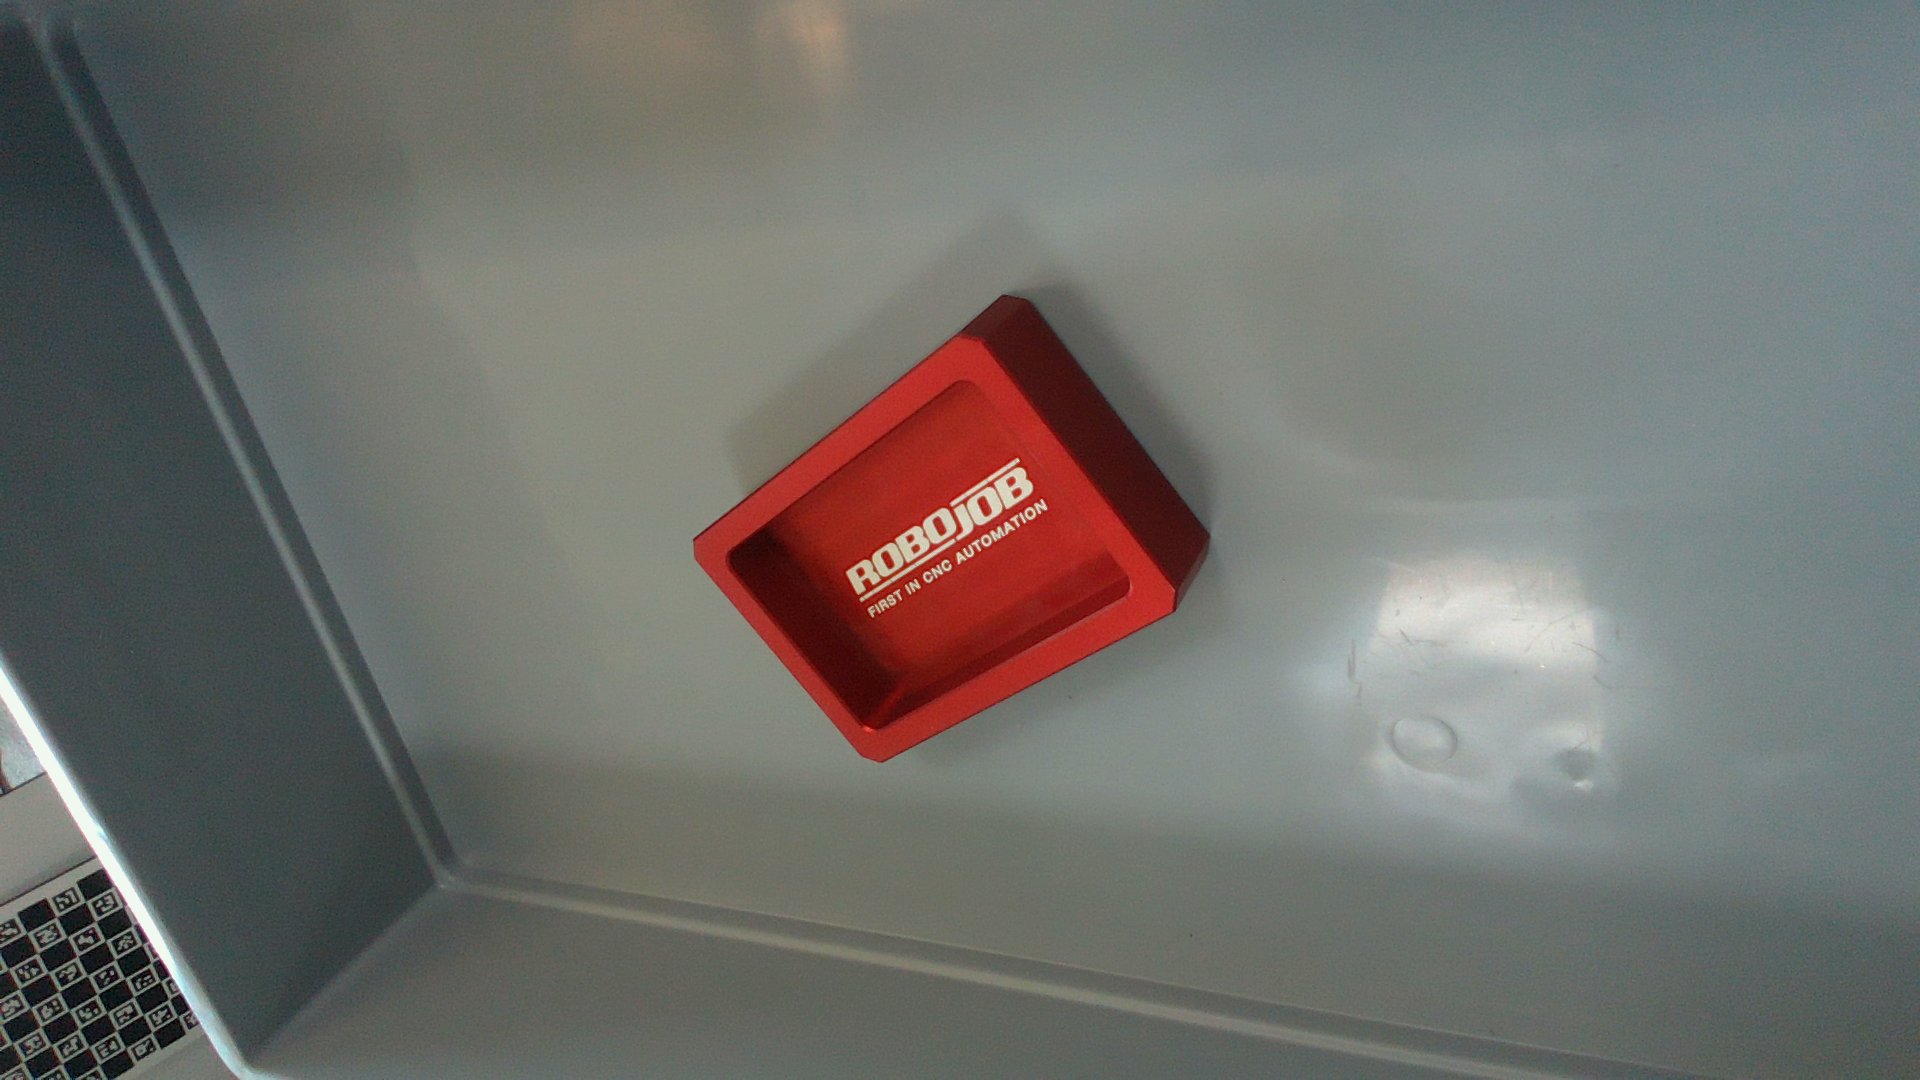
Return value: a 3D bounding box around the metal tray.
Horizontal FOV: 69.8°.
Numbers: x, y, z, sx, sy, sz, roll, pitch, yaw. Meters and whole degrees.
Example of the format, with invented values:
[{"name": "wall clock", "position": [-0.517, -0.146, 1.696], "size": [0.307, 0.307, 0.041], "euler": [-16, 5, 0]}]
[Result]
[{"name": "metal tray", "position": [-0.007, 0.002, 0.391], "size": [0.130, 0.030, 0.090], "euler": [-32, 101, 38]}]
